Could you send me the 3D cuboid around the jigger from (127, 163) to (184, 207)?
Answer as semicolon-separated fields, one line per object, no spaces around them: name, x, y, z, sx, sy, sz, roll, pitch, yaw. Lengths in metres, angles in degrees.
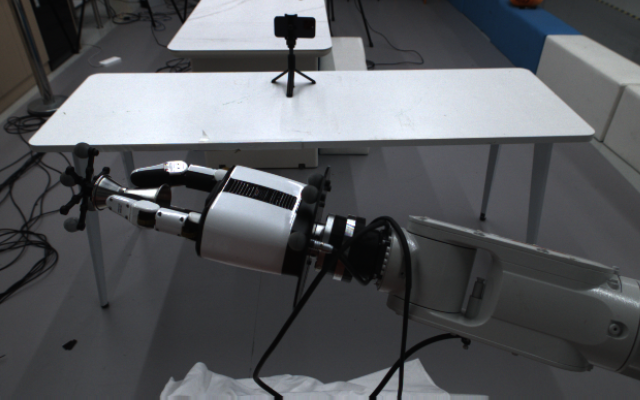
jigger;-0.193;-0.003;0.519;0.071;0.043;0.043;11;35;2
